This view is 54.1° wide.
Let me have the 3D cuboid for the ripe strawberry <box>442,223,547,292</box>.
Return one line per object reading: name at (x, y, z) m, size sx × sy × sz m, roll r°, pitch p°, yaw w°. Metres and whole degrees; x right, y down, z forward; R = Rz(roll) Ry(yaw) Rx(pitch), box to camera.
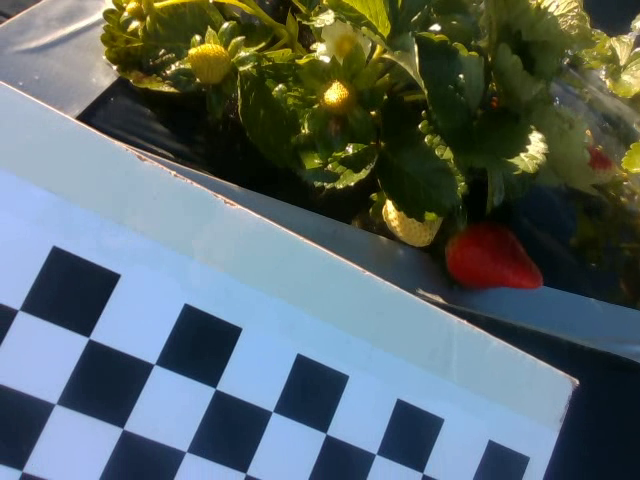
ripe strawberry at (0.093, 0.012, 0.332) m, size 0.045 × 0.049 × 0.063 m, roll -41°, pitch 40°, yaw -14°
